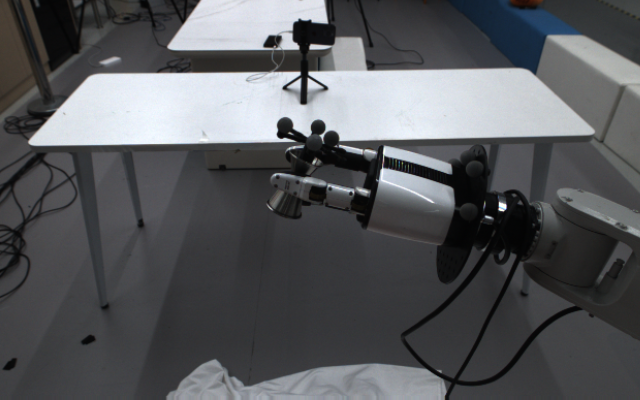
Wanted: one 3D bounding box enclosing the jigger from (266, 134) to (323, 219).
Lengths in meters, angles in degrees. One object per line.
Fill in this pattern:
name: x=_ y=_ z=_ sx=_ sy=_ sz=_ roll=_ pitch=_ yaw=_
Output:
jigger: x=-0.029 y=-0.018 z=0.544 sx=0.043 sy=0.071 sz=0.043 roll=23 pitch=19 yaw=-8
